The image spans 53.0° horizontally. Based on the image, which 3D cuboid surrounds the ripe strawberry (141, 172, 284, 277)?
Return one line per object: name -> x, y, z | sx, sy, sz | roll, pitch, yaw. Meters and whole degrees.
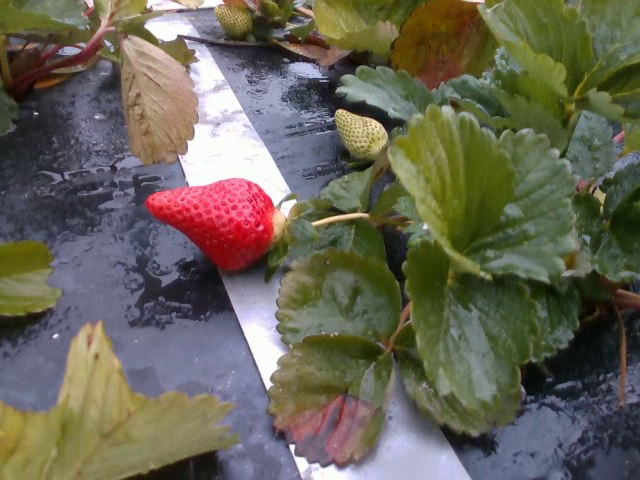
ripe strawberry -> -0.040, -0.009, 0.236 | 0.051, 0.042, 0.037 | 11, -26, -20
